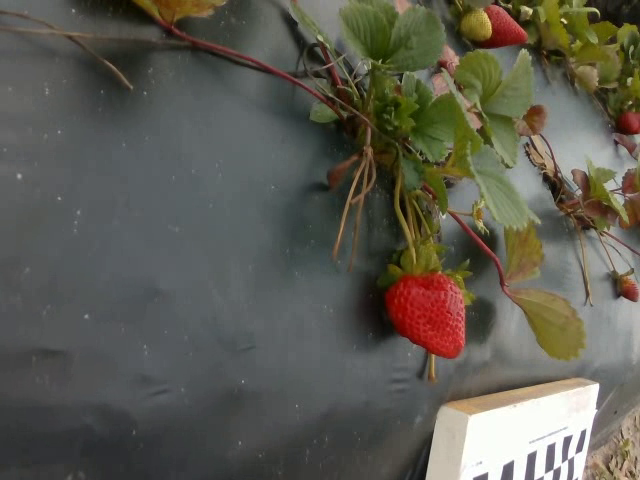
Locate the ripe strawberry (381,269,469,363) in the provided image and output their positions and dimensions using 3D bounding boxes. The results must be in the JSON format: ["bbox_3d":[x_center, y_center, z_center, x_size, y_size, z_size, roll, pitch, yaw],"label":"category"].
[{"bbox_3d":[0.019,0.013,0.111,0.014,0.017,0.018,-35,-22,13],"label":"ripe strawberry"}]
